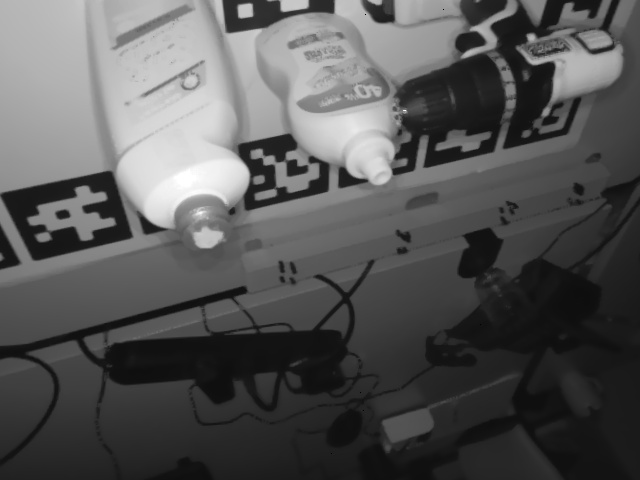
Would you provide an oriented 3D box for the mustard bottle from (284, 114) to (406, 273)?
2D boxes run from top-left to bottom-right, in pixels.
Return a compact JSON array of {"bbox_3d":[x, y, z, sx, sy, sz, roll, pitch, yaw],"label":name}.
[{"bbox_3d":[0.033,-0.042,0.668,0.097,0.192,0.058,-12,140,-12],"label":"mustard bottle"}]

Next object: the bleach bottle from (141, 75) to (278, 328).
[{"bbox_3d":[-0.083,-0.036,0.581,0.103,0.251,0.067,-19,140,-6],"label":"bleach bottle"}]

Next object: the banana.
[{"bbox_3d":[0.007,-0.189,0.607,0.199,0.039,0.073,-13,136,-17],"label":"banana"}]

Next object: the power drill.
[{"bbox_3d":[0.137,-0.092,0.635,0.186,0.187,0.057,-13,147,-9],"label":"power drill"}]
